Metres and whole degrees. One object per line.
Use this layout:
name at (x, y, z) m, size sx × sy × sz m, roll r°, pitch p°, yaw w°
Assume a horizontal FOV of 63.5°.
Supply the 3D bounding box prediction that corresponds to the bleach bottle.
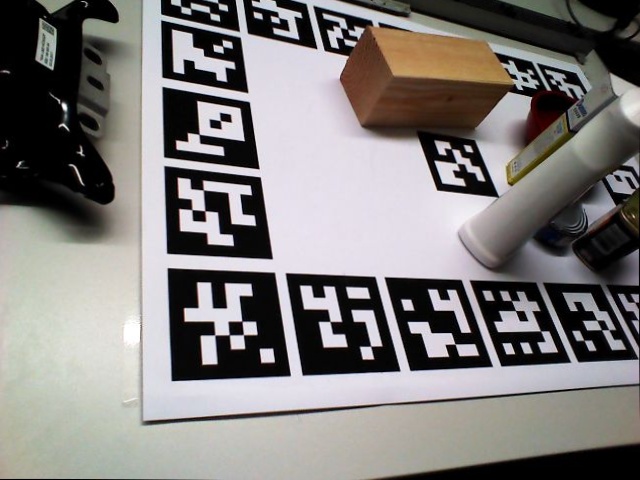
bleach bottle at (0.278, -0.060, 0.542) m, size 0.102 × 0.252 × 0.068 m, roll -23°, pitch 70°, yaw -35°

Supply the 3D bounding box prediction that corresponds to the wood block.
wood block at (0.160, -0.202, 0.688) m, size 0.205 × 0.090 × 0.090 m, roll -5°, pitch 66°, yaw -29°

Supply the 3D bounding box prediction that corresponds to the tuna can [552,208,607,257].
tuna can at (0.326, -0.021, 0.674) m, size 0.085 × 0.034 × 0.085 m, roll 11°, pitch 58°, yaw -18°

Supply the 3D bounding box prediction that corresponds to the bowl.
bowl at (0.399, -0.141, 0.779) m, size 0.161 × 0.055 × 0.160 m, roll 10°, pitch 55°, yaw -15°

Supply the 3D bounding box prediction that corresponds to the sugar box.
sugar box at (0.363, -0.108, 0.658) m, size 0.093 × 0.177 × 0.045 m, roll 20°, pitch 54°, yaw -8°

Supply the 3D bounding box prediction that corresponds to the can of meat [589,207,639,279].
can of meat at (0.415, -0.003, 0.681) m, size 0.101 × 0.084 × 0.058 m, roll -28°, pitch 71°, yaw -38°
